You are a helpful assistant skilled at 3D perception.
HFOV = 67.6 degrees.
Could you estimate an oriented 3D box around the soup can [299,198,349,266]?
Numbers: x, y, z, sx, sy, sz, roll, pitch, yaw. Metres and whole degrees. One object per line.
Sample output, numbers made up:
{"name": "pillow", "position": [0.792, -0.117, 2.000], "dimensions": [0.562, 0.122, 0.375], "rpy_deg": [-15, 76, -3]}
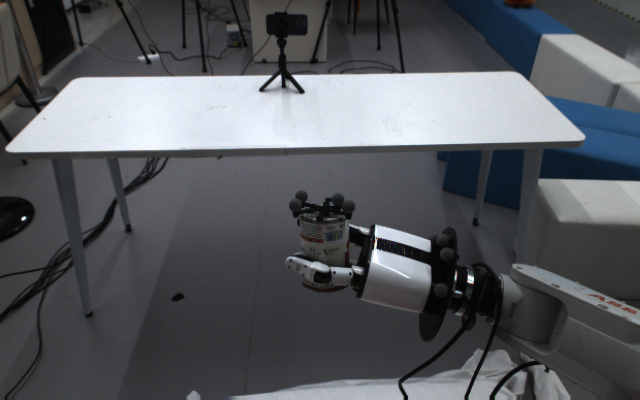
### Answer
{"name": "soup can", "position": [0.008, 0.066, 0.656], "dimensions": [0.067, 0.101, 0.067], "rpy_deg": [-1, 16, 0]}
